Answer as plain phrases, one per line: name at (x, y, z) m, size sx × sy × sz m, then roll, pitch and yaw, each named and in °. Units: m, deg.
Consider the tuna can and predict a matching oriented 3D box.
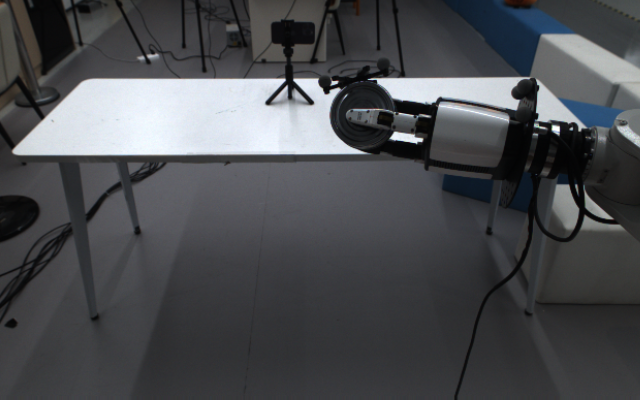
tuna can at (0.061, -0.104, 0.626) m, size 0.085 × 0.085 × 0.034 m, roll 12°, pitch 3°, yaw 14°
